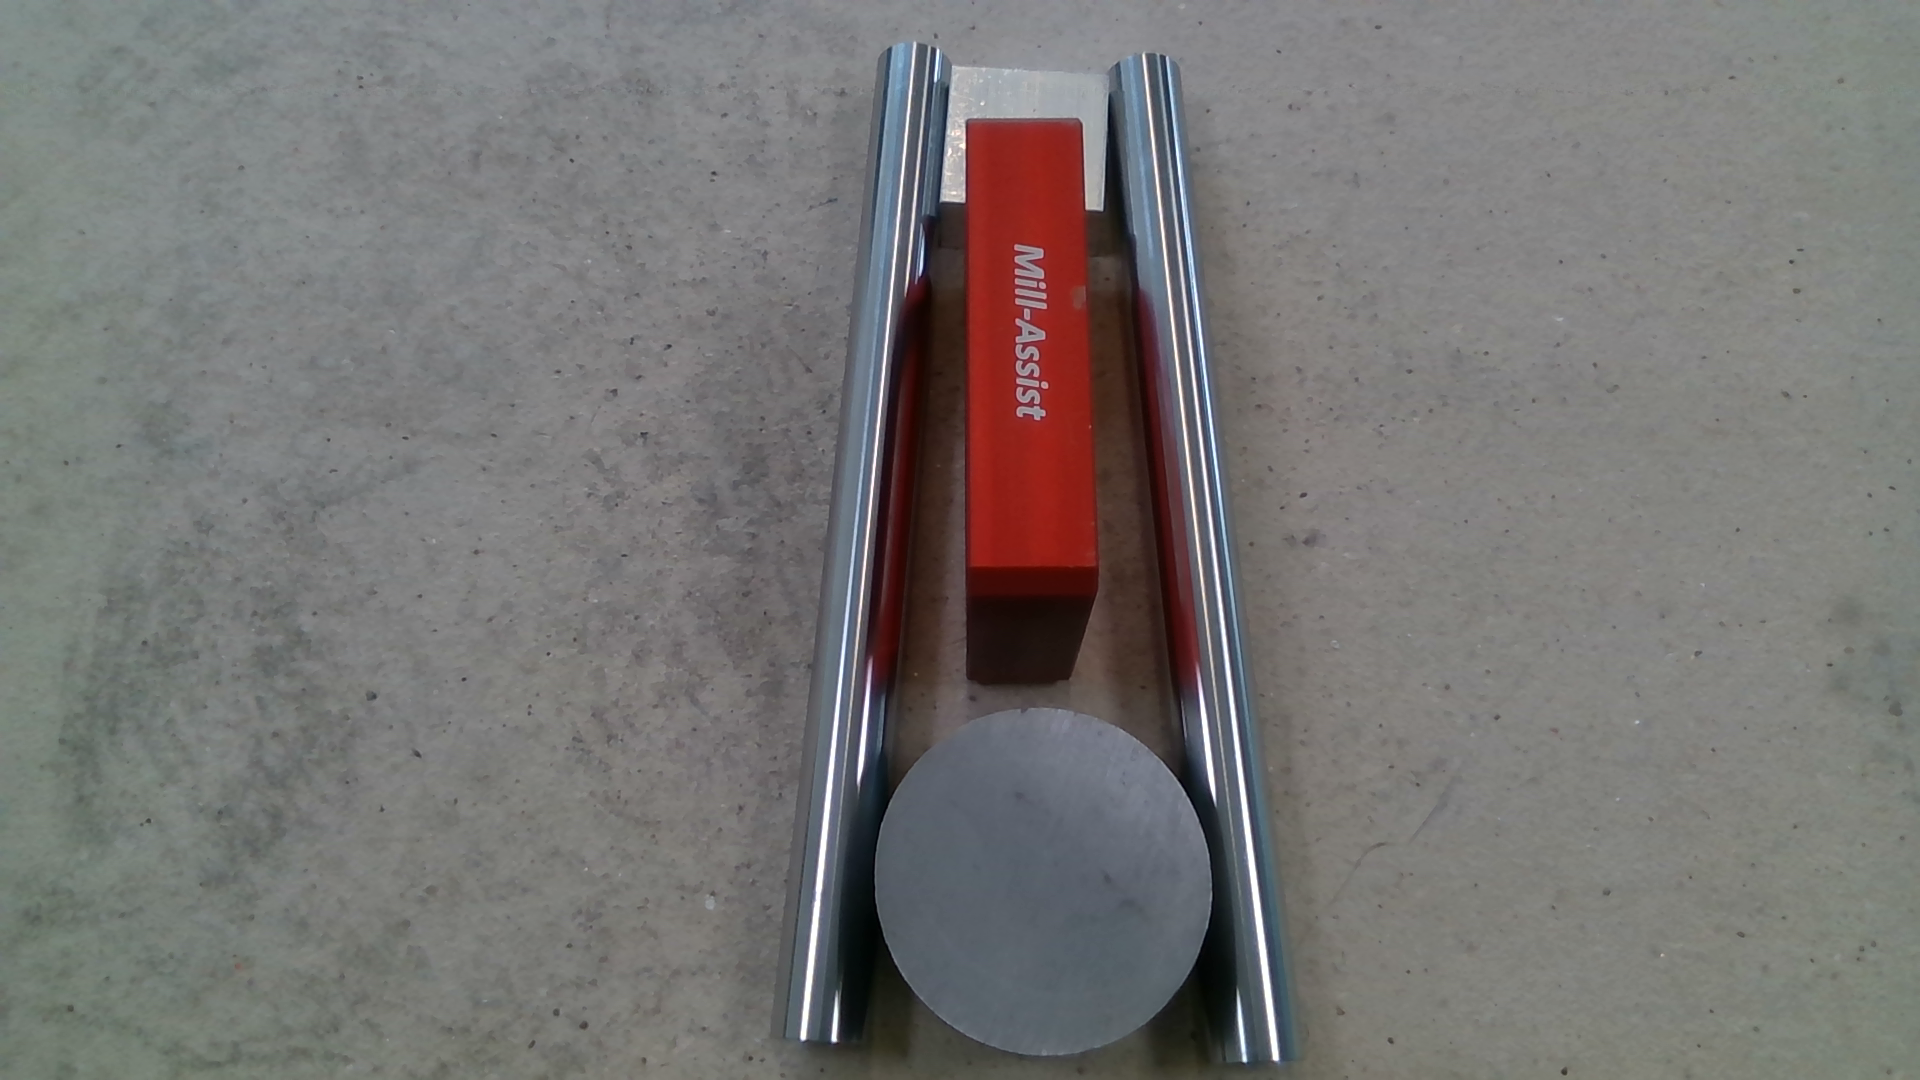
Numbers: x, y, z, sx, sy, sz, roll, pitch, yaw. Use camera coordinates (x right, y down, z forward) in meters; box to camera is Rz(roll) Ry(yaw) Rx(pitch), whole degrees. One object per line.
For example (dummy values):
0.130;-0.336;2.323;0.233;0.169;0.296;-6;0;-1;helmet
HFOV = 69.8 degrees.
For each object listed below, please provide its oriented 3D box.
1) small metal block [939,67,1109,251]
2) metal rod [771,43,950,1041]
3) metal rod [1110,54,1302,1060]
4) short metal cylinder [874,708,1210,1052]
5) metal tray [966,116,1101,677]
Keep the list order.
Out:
0.020;-0.121;0.439;0.050;0.025;0.050;4;70;1;small metal block
-0.025;-0.014;0.401;0.025;0.025;0.299;4;71;1;metal rod
0.067;-0.009;0.399;0.025;0.025;0.299;-3;71;-1;metal rod
0.020;0.088;0.351;0.080;0.050;0.080;0;70;0;short metal cylinder
0.017;-0.035;0.372;0.030;0.090;0.130;0;70;0;metal tray
